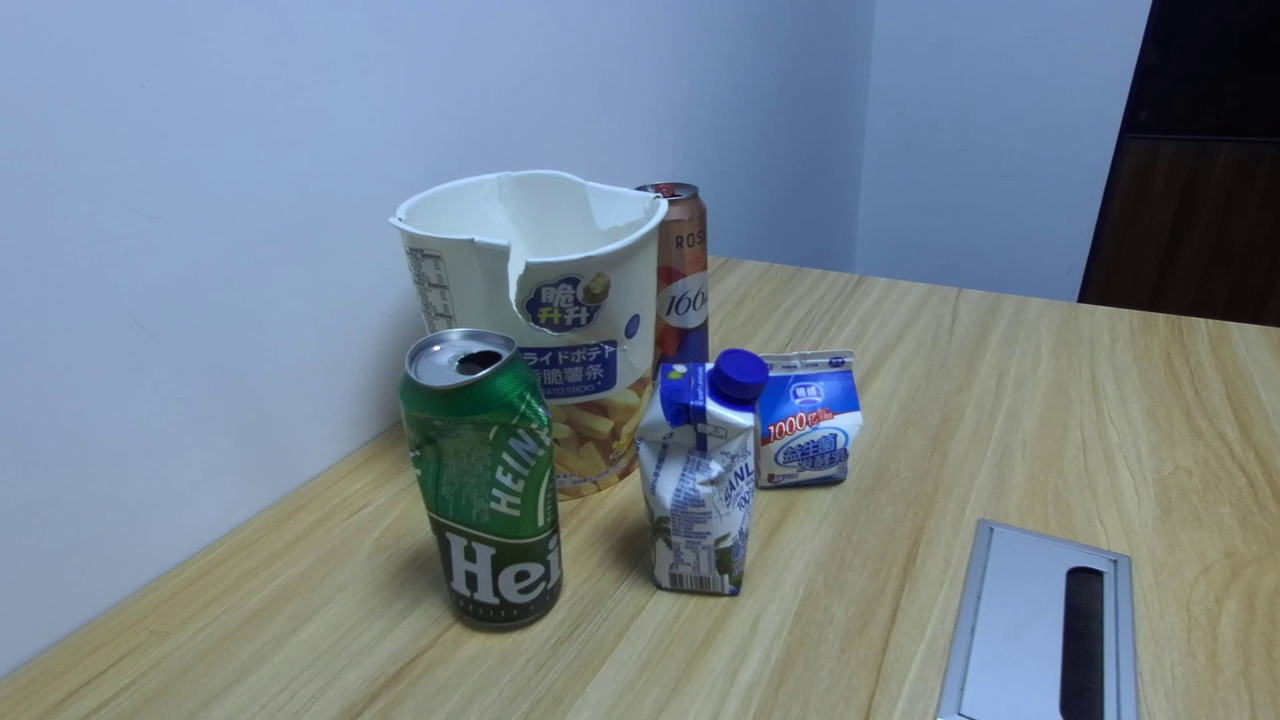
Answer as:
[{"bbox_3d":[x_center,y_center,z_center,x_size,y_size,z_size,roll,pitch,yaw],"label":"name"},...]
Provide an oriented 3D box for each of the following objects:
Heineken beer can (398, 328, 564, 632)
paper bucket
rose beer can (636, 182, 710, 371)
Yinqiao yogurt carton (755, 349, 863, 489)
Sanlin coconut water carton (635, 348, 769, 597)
[{"bbox_3d":[-0.084,0.067,0.385,0.066,0.164,0.077,-15,32,-19],"label":"Heineken beer can"},{"bbox_3d":[-0.067,-0.020,0.508,0.201,0.197,0.146,19,36,37],"label":"paper bucket"},{"bbox_3d":[0.027,-0.062,0.614,0.068,0.169,0.068,-3,28,2],"label":"rose beer can"},{"bbox_3d":[0.113,0.034,0.494,0.074,0.097,0.080,-6,34,-4],"label":"Yinqiao yogurt carton"},{"bbox_3d":[0.034,0.062,0.397,0.070,0.144,0.061,3,29,10],"label":"Sanlin coconut water carton"}]
